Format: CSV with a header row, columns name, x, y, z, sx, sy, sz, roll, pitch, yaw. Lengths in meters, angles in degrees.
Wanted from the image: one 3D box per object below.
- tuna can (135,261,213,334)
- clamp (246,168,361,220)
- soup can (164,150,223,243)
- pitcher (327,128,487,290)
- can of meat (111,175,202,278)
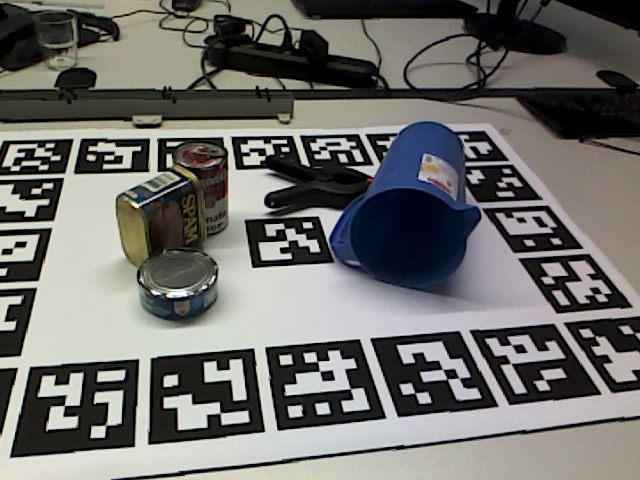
name,x,y,z,sx,sy,sz,roll,pitch,yaw
tuna can,-0.162,0.064,0.694,0.085,0.033,0.086,3,39,-3
clamp,-0.021,-0.066,0.895,0.164,0.036,0.122,1,34,-12
soup can,-0.160,-0.055,0.796,0.068,0.102,0.068,2,40,-2
pitcher,0.115,-0.052,0.793,0.189,0.133,0.242,-9,27,18
can of meat,-0.193,-0.013,0.731,0.058,0.101,0.083,33,49,30
